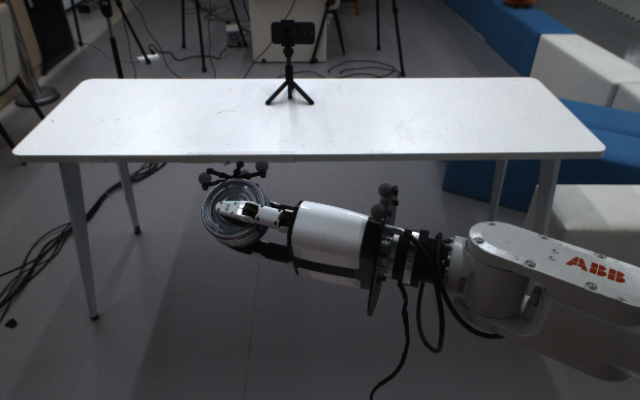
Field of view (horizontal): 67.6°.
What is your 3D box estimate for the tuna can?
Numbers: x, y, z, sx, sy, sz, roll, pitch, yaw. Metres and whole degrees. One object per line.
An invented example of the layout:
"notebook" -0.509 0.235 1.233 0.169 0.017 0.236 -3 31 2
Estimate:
"tuna can" -0.103 0.021 0.620 0.085 0.034 0.085 -4 68 9
